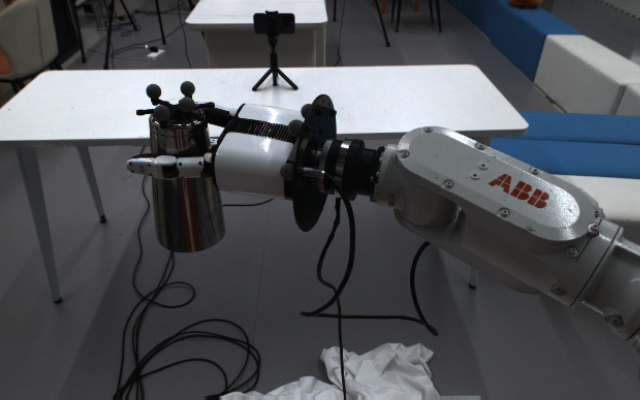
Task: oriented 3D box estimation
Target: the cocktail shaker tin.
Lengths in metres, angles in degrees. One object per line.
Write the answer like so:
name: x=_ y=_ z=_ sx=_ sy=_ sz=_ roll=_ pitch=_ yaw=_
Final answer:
cocktail shaker tin: x=-0.169 y=-0.030 z=0.616 sx=0.093 sy=0.170 sz=0.093 roll=2 pitch=33 yaw=-2
